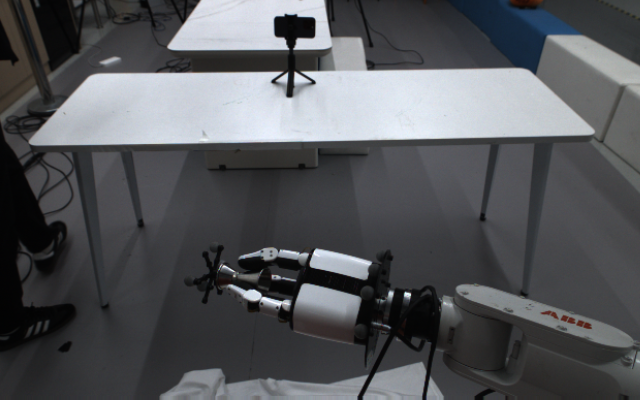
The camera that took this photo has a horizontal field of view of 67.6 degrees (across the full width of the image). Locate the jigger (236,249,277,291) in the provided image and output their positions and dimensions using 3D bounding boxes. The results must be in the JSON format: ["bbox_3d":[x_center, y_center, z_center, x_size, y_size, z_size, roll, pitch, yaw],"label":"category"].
[{"bbox_3d":[-0.102,0.107,0.697,0.071,0.043,0.043,5,34,19],"label":"jigger"}]
